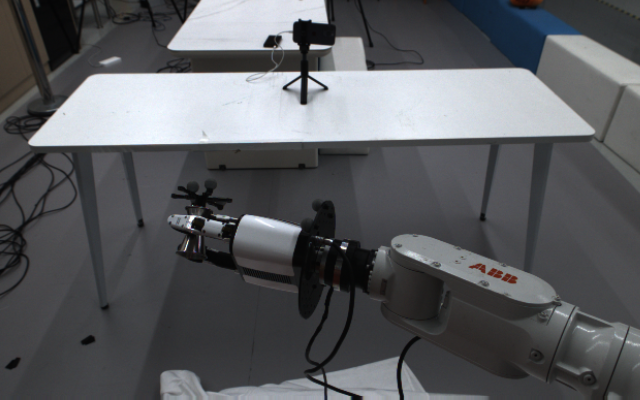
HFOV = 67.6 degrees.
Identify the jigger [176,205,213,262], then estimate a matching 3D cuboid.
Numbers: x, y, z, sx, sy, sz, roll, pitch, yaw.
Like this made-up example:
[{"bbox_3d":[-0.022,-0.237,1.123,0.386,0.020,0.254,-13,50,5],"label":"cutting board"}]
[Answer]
[{"bbox_3d":[-0.177,0.046,0.683,0.043,0.043,0.071,5,71,3],"label":"jigger"}]
